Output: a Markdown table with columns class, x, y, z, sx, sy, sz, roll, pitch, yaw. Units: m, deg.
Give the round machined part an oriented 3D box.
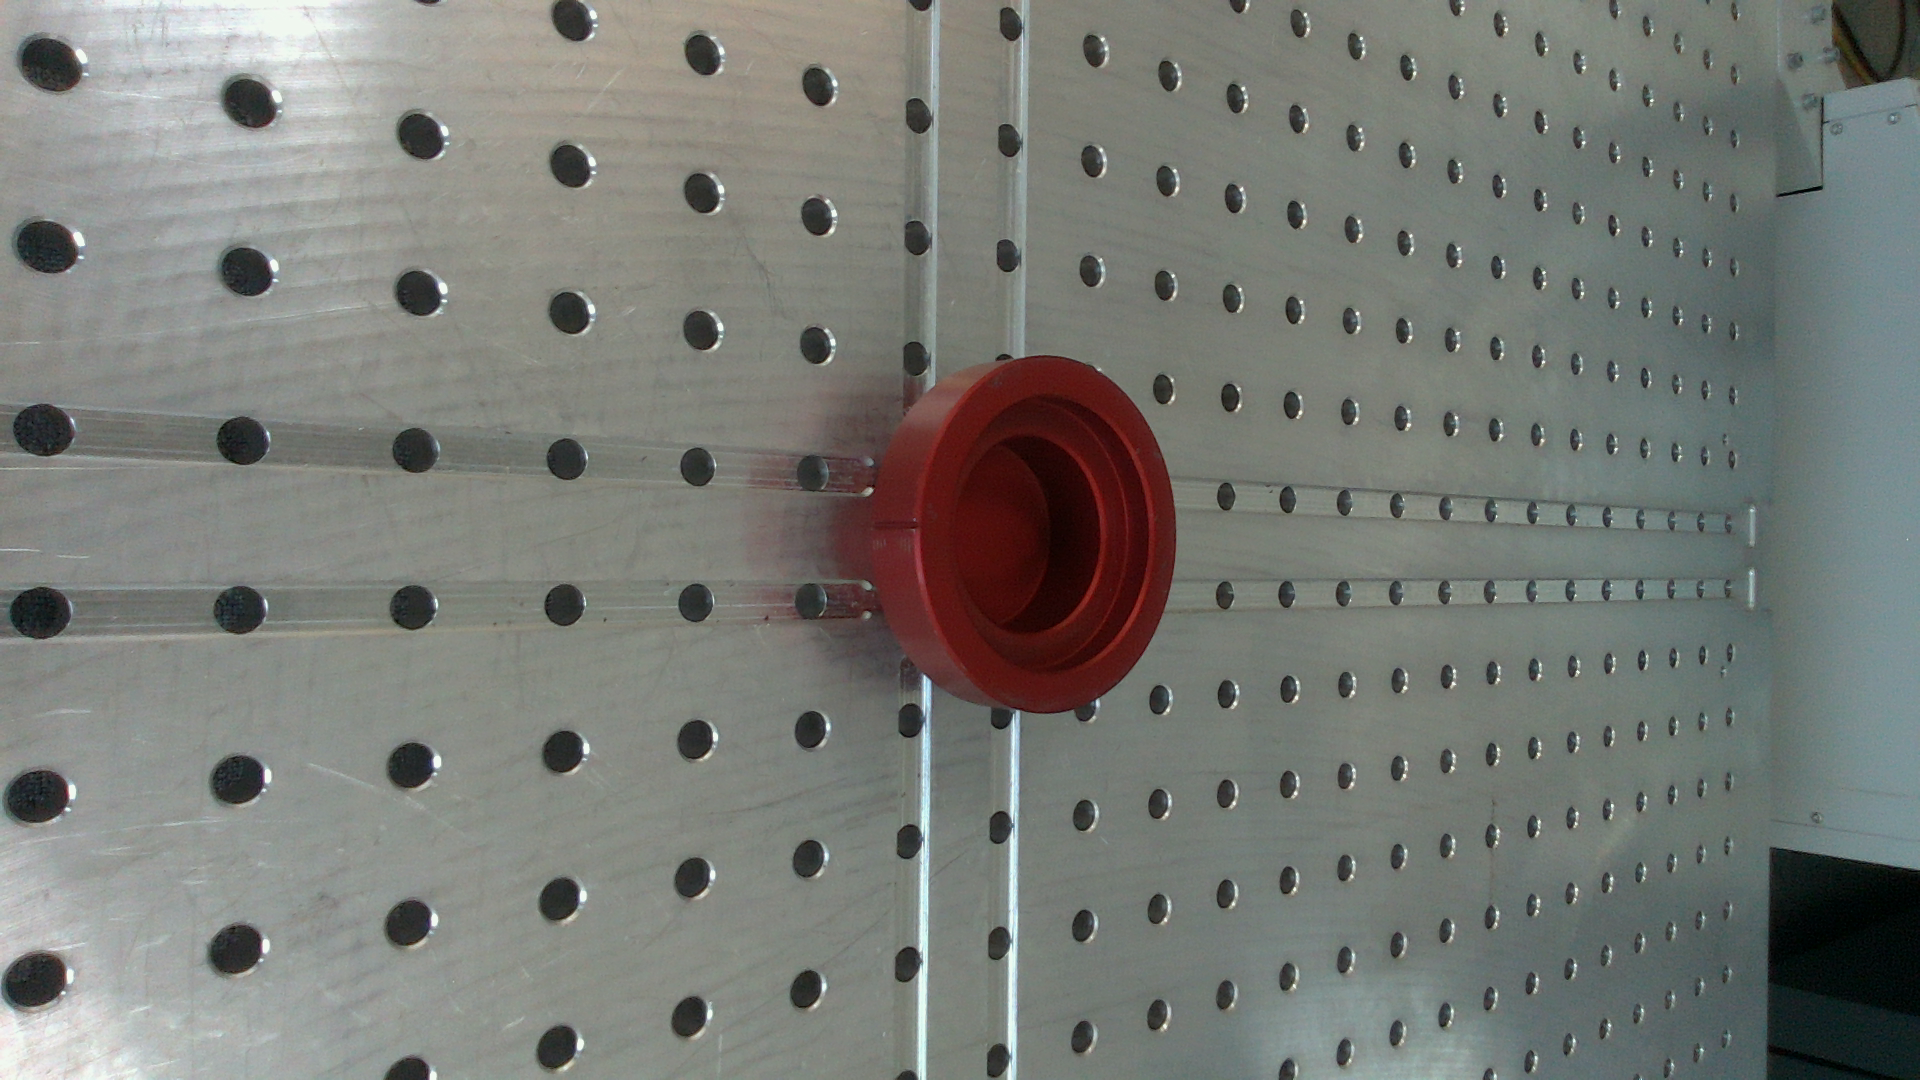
| class | x | y | z | sx | sy | sz | roll | pitch | yaw |
| --- | --- | --- | --- | --- | --- | --- | --- | --- | --- |
| round machined part | 0.014 | -0.002 | 0.391 | 0.098 | 0.042 | 0.098 | 0 | 90 | -40 |
